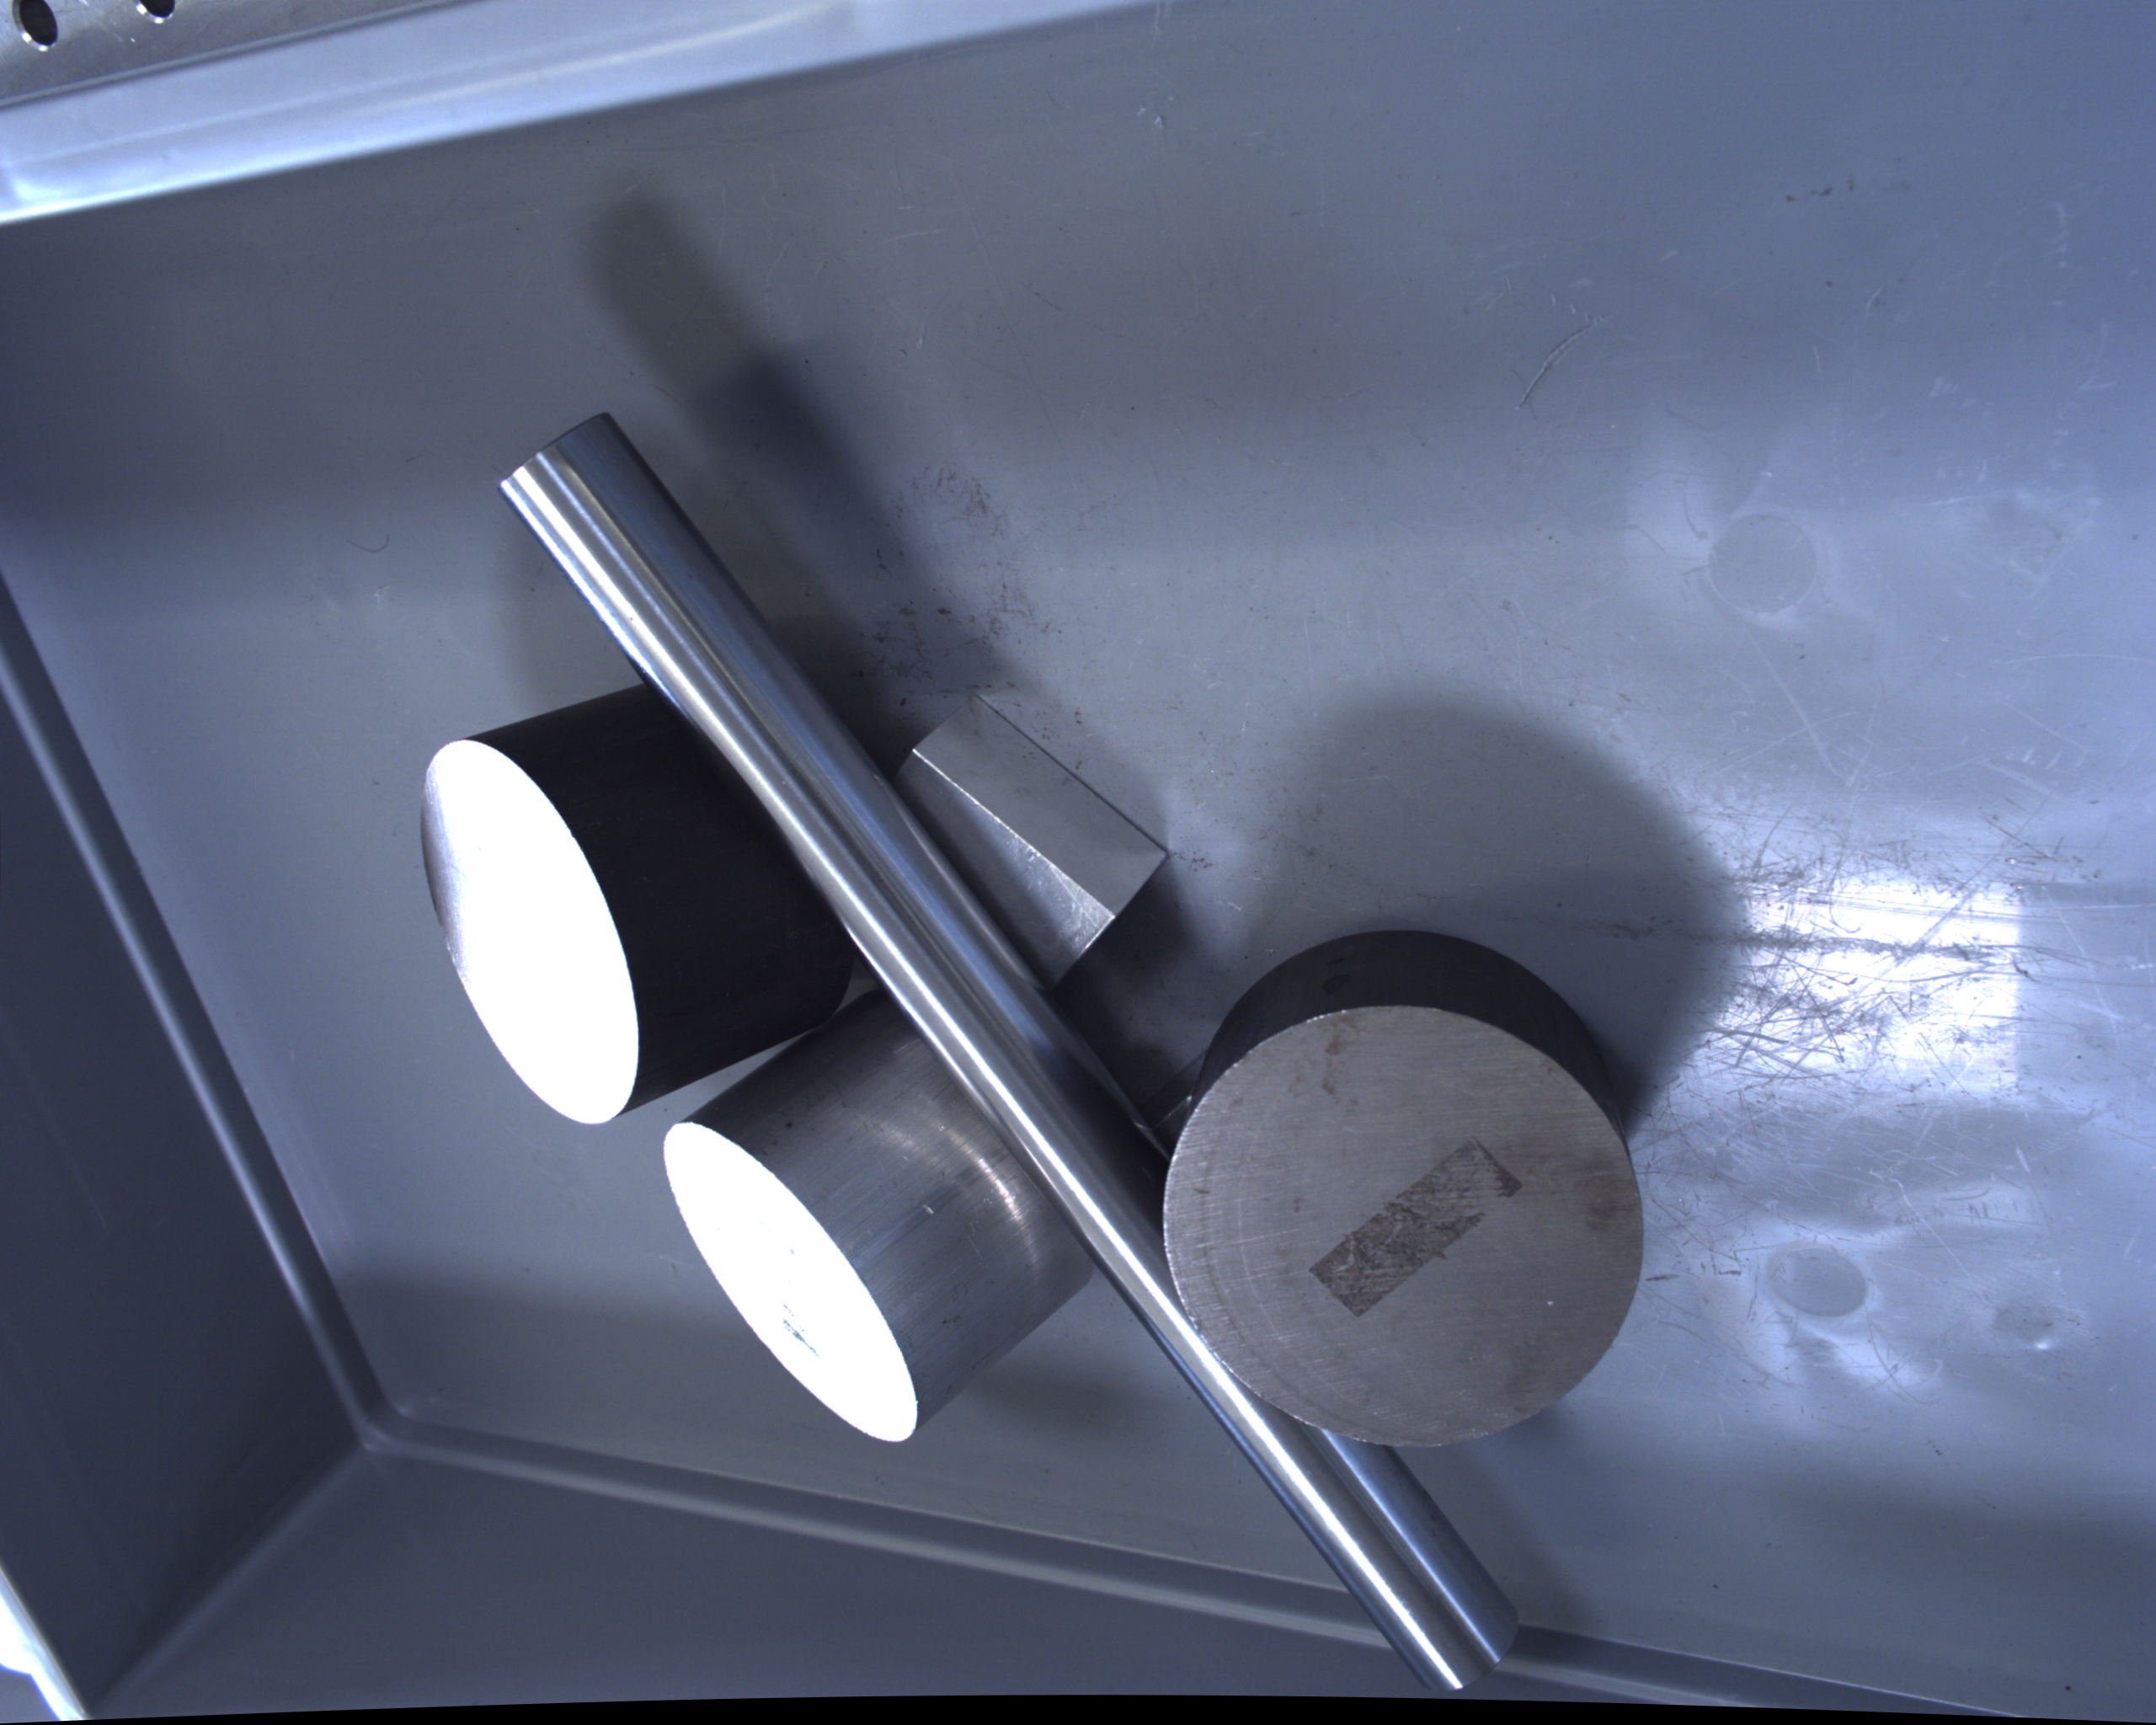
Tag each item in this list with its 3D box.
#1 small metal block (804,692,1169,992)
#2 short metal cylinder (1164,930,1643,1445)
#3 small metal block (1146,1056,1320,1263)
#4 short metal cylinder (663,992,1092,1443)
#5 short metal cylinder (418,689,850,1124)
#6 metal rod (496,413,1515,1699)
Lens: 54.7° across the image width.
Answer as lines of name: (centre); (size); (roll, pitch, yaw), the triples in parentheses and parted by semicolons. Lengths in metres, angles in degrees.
small metal block: (-0.019, 0.003, 0.418); (0.050, 0.025, 0.050); (40, 129, 1)
short metal cylinder: (0.059, 0.057, 0.378); (0.080, 0.050, 0.079); (2, 103, 9)
small metal block: (0.032, 0.070, 0.433); (0.050, 0.025, 0.050); (42, 129, -1)
short metal cylinder: (-0.042, 0.074, 0.441); (0.080, 0.050, 0.079); (35, 144, 30)
short metal cylinder: (-0.091, 0.006, 0.424); (0.080, 0.050, 0.079); (26, 127, 40)
metal rod: (-0.008, 0.044, 0.405); (0.025, 0.025, 0.299); (-28, 103, 37)
